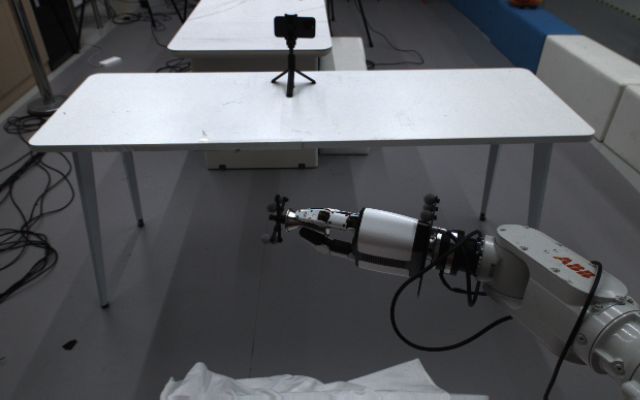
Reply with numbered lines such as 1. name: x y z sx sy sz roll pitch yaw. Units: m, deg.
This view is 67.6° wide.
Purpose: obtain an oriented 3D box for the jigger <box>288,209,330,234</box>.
1. jigger: -0.012 0.032 0.785 0.071 0.043 0.043 6 35 13
